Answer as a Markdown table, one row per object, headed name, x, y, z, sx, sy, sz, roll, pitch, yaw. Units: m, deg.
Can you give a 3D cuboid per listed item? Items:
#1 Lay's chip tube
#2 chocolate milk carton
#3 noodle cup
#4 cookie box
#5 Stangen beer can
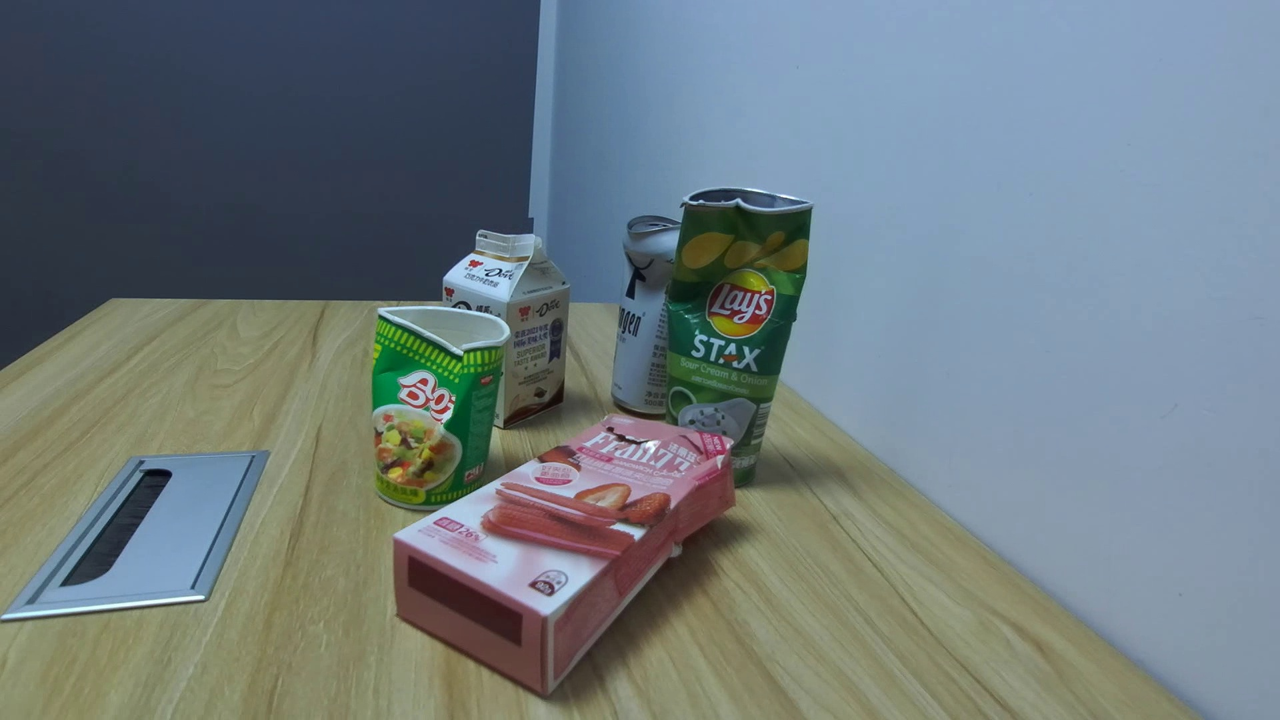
| name | x | y | z | sx | sy | sz | roll | pitch | yaw |
| --- | --- | --- | --- | --- | --- | --- | --- | --- | --- |
| Lay's chip tube | 0.060 | -0.015 | 0.487 | 0.077 | 0.201 | 0.069 | -2 | 20 | -12 |
| chocolate milk carton | -0.107 | -0.032 | 0.570 | 0.075 | 0.148 | 0.074 | 20 | 26 | 31 |
| noodle cup | -0.129 | 0.030 | 0.449 | 0.075 | 0.122 | 0.082 | 5 | 9 | -27 |
| cookie box | -0.032 | 0.092 | 0.390 | 0.104 | 0.059 | 0.186 | 13 | 24 | 30 |
| Stangen beer can | 0.012 | -0.036 | 0.594 | 0.077 | 0.162 | 0.066 | 10 | 18 | 17 |
